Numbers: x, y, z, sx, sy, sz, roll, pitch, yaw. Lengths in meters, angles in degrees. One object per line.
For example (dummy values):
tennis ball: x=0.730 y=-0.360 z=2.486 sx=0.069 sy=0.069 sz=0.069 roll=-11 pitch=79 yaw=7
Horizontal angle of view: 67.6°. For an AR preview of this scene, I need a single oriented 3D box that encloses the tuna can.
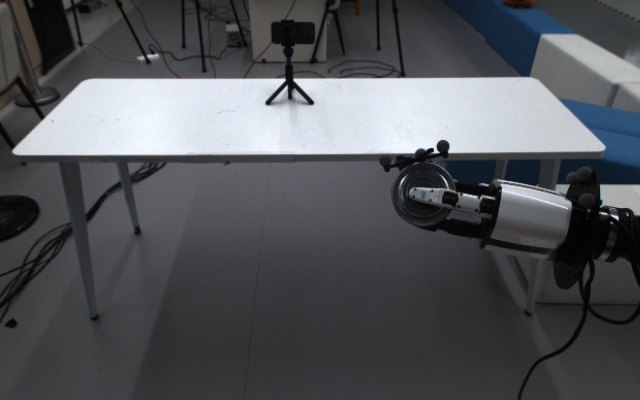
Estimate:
tuna can: x=0.142 y=-0.010 z=0.654 sx=0.085 sy=0.085 sz=0.034 roll=12 pitch=-6 yaw=14
